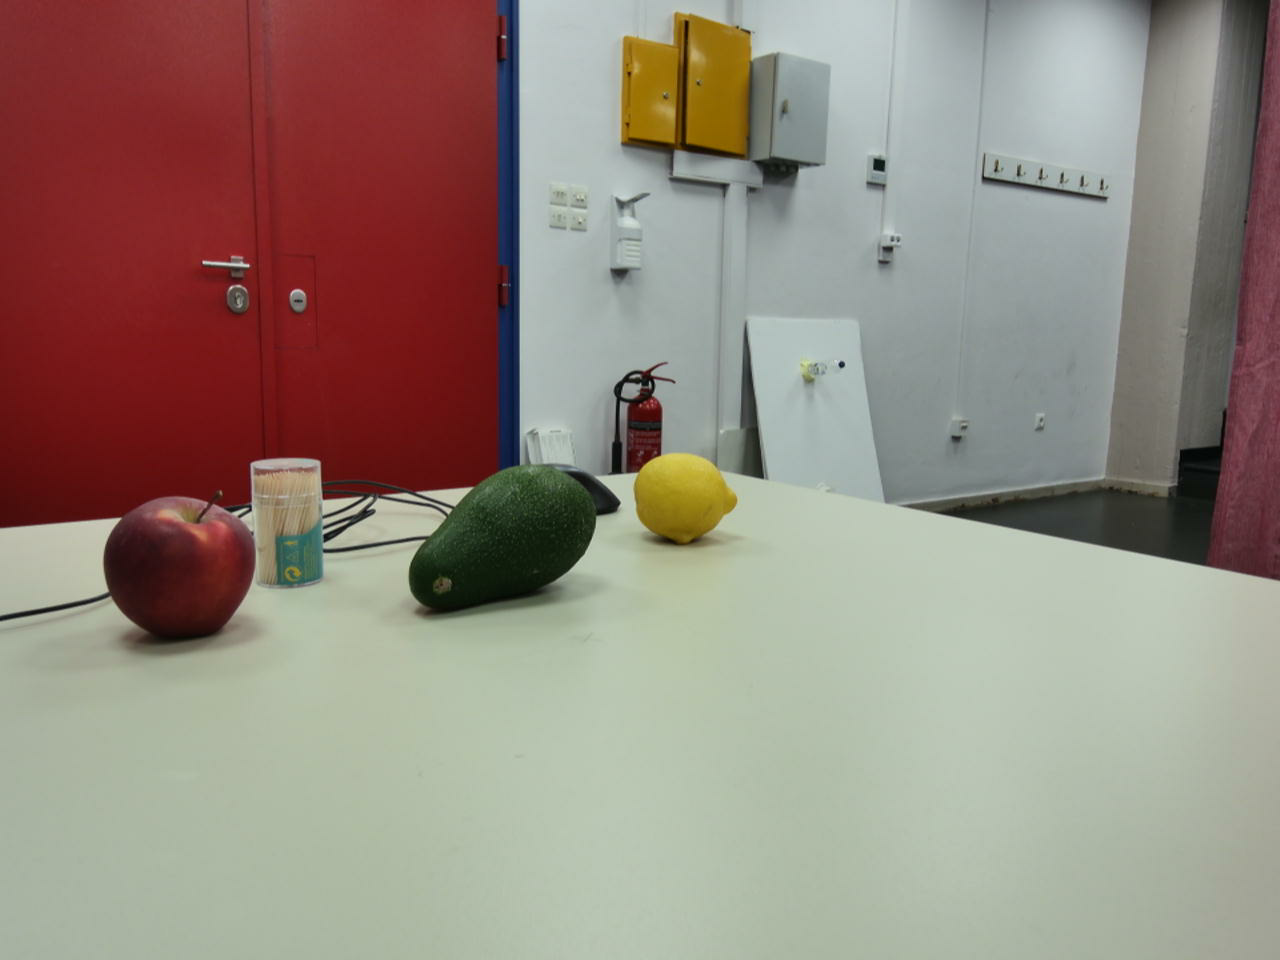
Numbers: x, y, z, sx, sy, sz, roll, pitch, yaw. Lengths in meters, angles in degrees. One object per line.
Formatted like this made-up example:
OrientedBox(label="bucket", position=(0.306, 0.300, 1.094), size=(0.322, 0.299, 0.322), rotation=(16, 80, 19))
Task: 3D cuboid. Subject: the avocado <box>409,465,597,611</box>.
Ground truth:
OrientedBox(label="avocado", position=(-0.083, 0.030, 0.588), size=(0.123, 0.076, 0.074), rotation=(-4, 8, -30))
